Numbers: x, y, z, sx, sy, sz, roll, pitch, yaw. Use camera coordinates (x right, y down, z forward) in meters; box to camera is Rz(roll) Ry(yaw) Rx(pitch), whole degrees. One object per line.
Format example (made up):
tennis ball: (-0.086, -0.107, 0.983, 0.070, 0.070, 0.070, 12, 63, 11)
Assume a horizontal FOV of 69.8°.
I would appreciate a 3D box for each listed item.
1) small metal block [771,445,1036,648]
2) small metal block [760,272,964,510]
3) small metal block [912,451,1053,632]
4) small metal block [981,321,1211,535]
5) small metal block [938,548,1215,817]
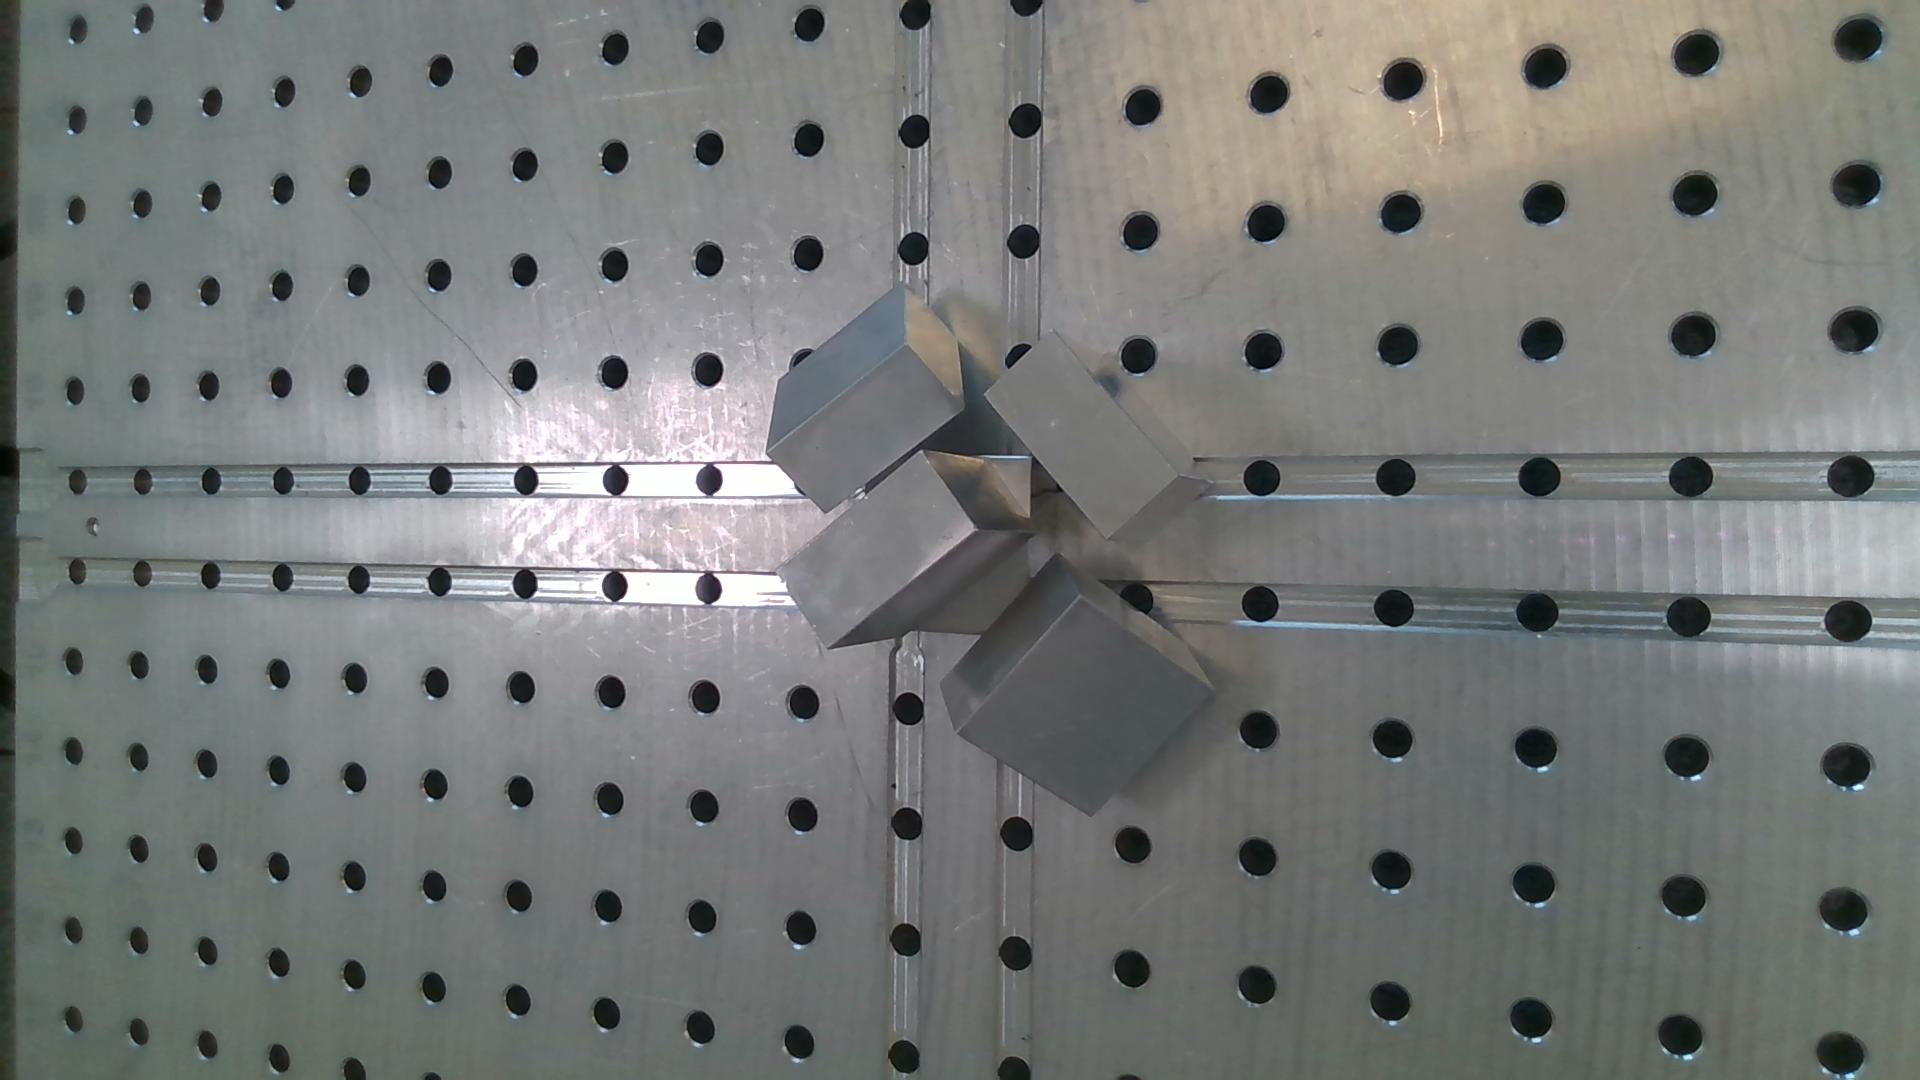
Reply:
small metal block: (-0.013, 0.002, 0.361, 0.050, 0.050, 0.025, -38, 79, 17)
small metal block: (-0.027, -0.043, 0.390, 0.050, 0.050, 0.025, -35, 116, 17)
small metal block: (0.000, 0.000, 0.396, 0.050, 0.025, 0.050, 0, 92, 20)
small metal block: (0.038, -0.028, 0.369, 0.025, 0.050, 0.050, -43, 77, 15)
small metal block: (0.031, 0.039, 0.371, 0.050, 0.025, 0.050, 35, 105, -24)
